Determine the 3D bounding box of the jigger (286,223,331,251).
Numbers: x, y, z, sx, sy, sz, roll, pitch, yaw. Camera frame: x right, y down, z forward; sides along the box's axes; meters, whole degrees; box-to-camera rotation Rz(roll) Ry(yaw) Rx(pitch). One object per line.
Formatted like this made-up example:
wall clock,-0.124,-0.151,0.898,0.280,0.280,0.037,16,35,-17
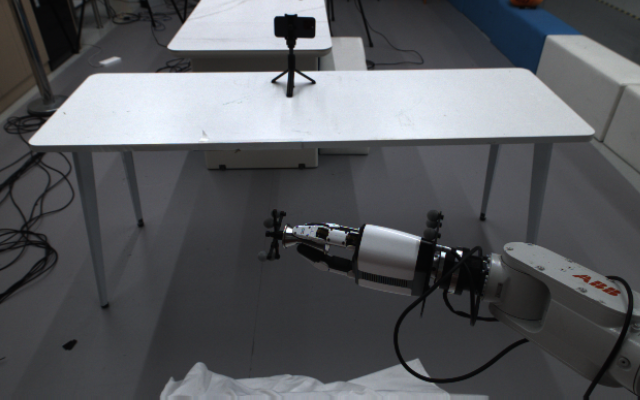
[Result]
jigger,-0.014,0.055,0.753,0.071,0.043,0.043,5,35,13
